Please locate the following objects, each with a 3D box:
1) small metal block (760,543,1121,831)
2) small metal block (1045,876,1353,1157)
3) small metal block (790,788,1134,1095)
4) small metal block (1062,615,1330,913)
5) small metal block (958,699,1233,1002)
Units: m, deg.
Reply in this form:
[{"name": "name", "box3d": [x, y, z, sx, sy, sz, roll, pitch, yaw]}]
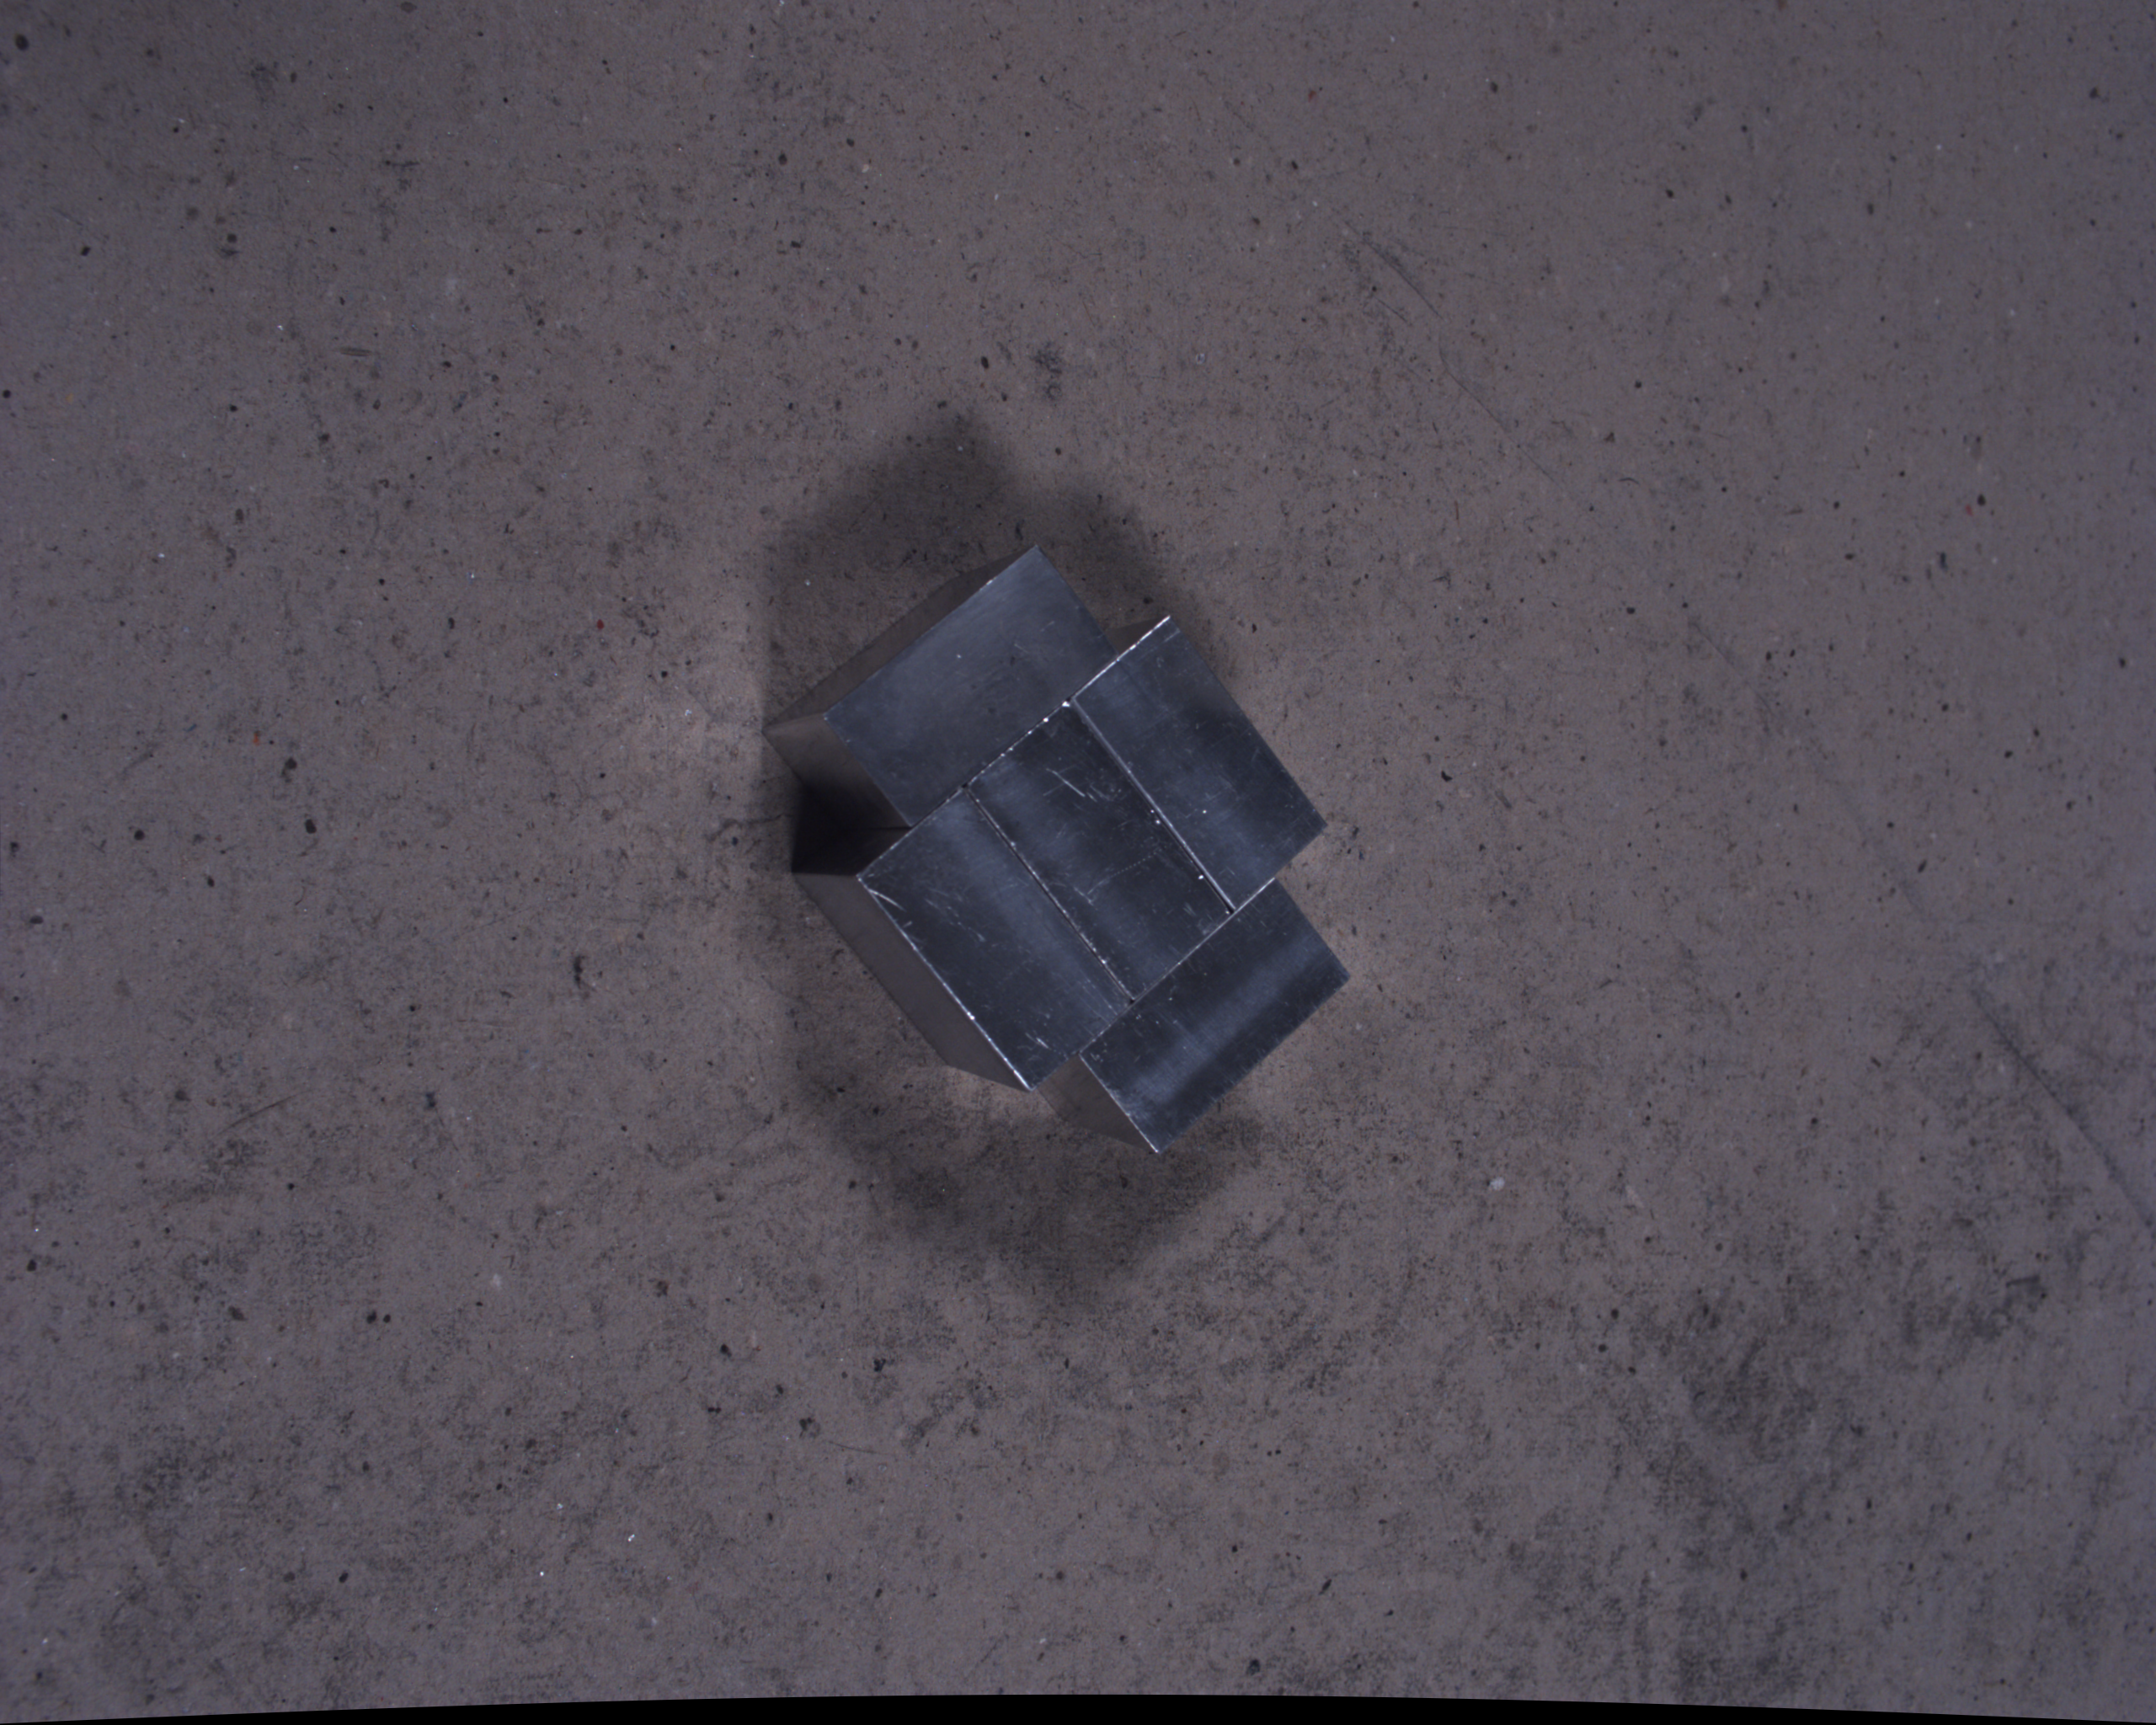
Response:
[{"name": "small metal block", "box3d": [-0.027, -0.031, 0.387, 0.050, 0.050, 0.025, -41, 104, -16]}, {"name": "small metal block", "box3d": [0.017, 0.028, 0.404, 0.050, 0.050, 0.025, -41, 104, -16]}, {"name": "small metal block", "box3d": [-0.023, 0.014, 0.389, 0.025, 0.050, 0.050, -42, 104, -15]}, {"name": "small metal block", "box3d": [0.014, -0.018, 0.402, 0.025, 0.050, 0.050, -43, 104, -15]}, {"name": "small metal block", "box3d": [-0.005, -0.002, 0.396, 0.025, 0.050, 0.050, -42, 104, -15]}]
